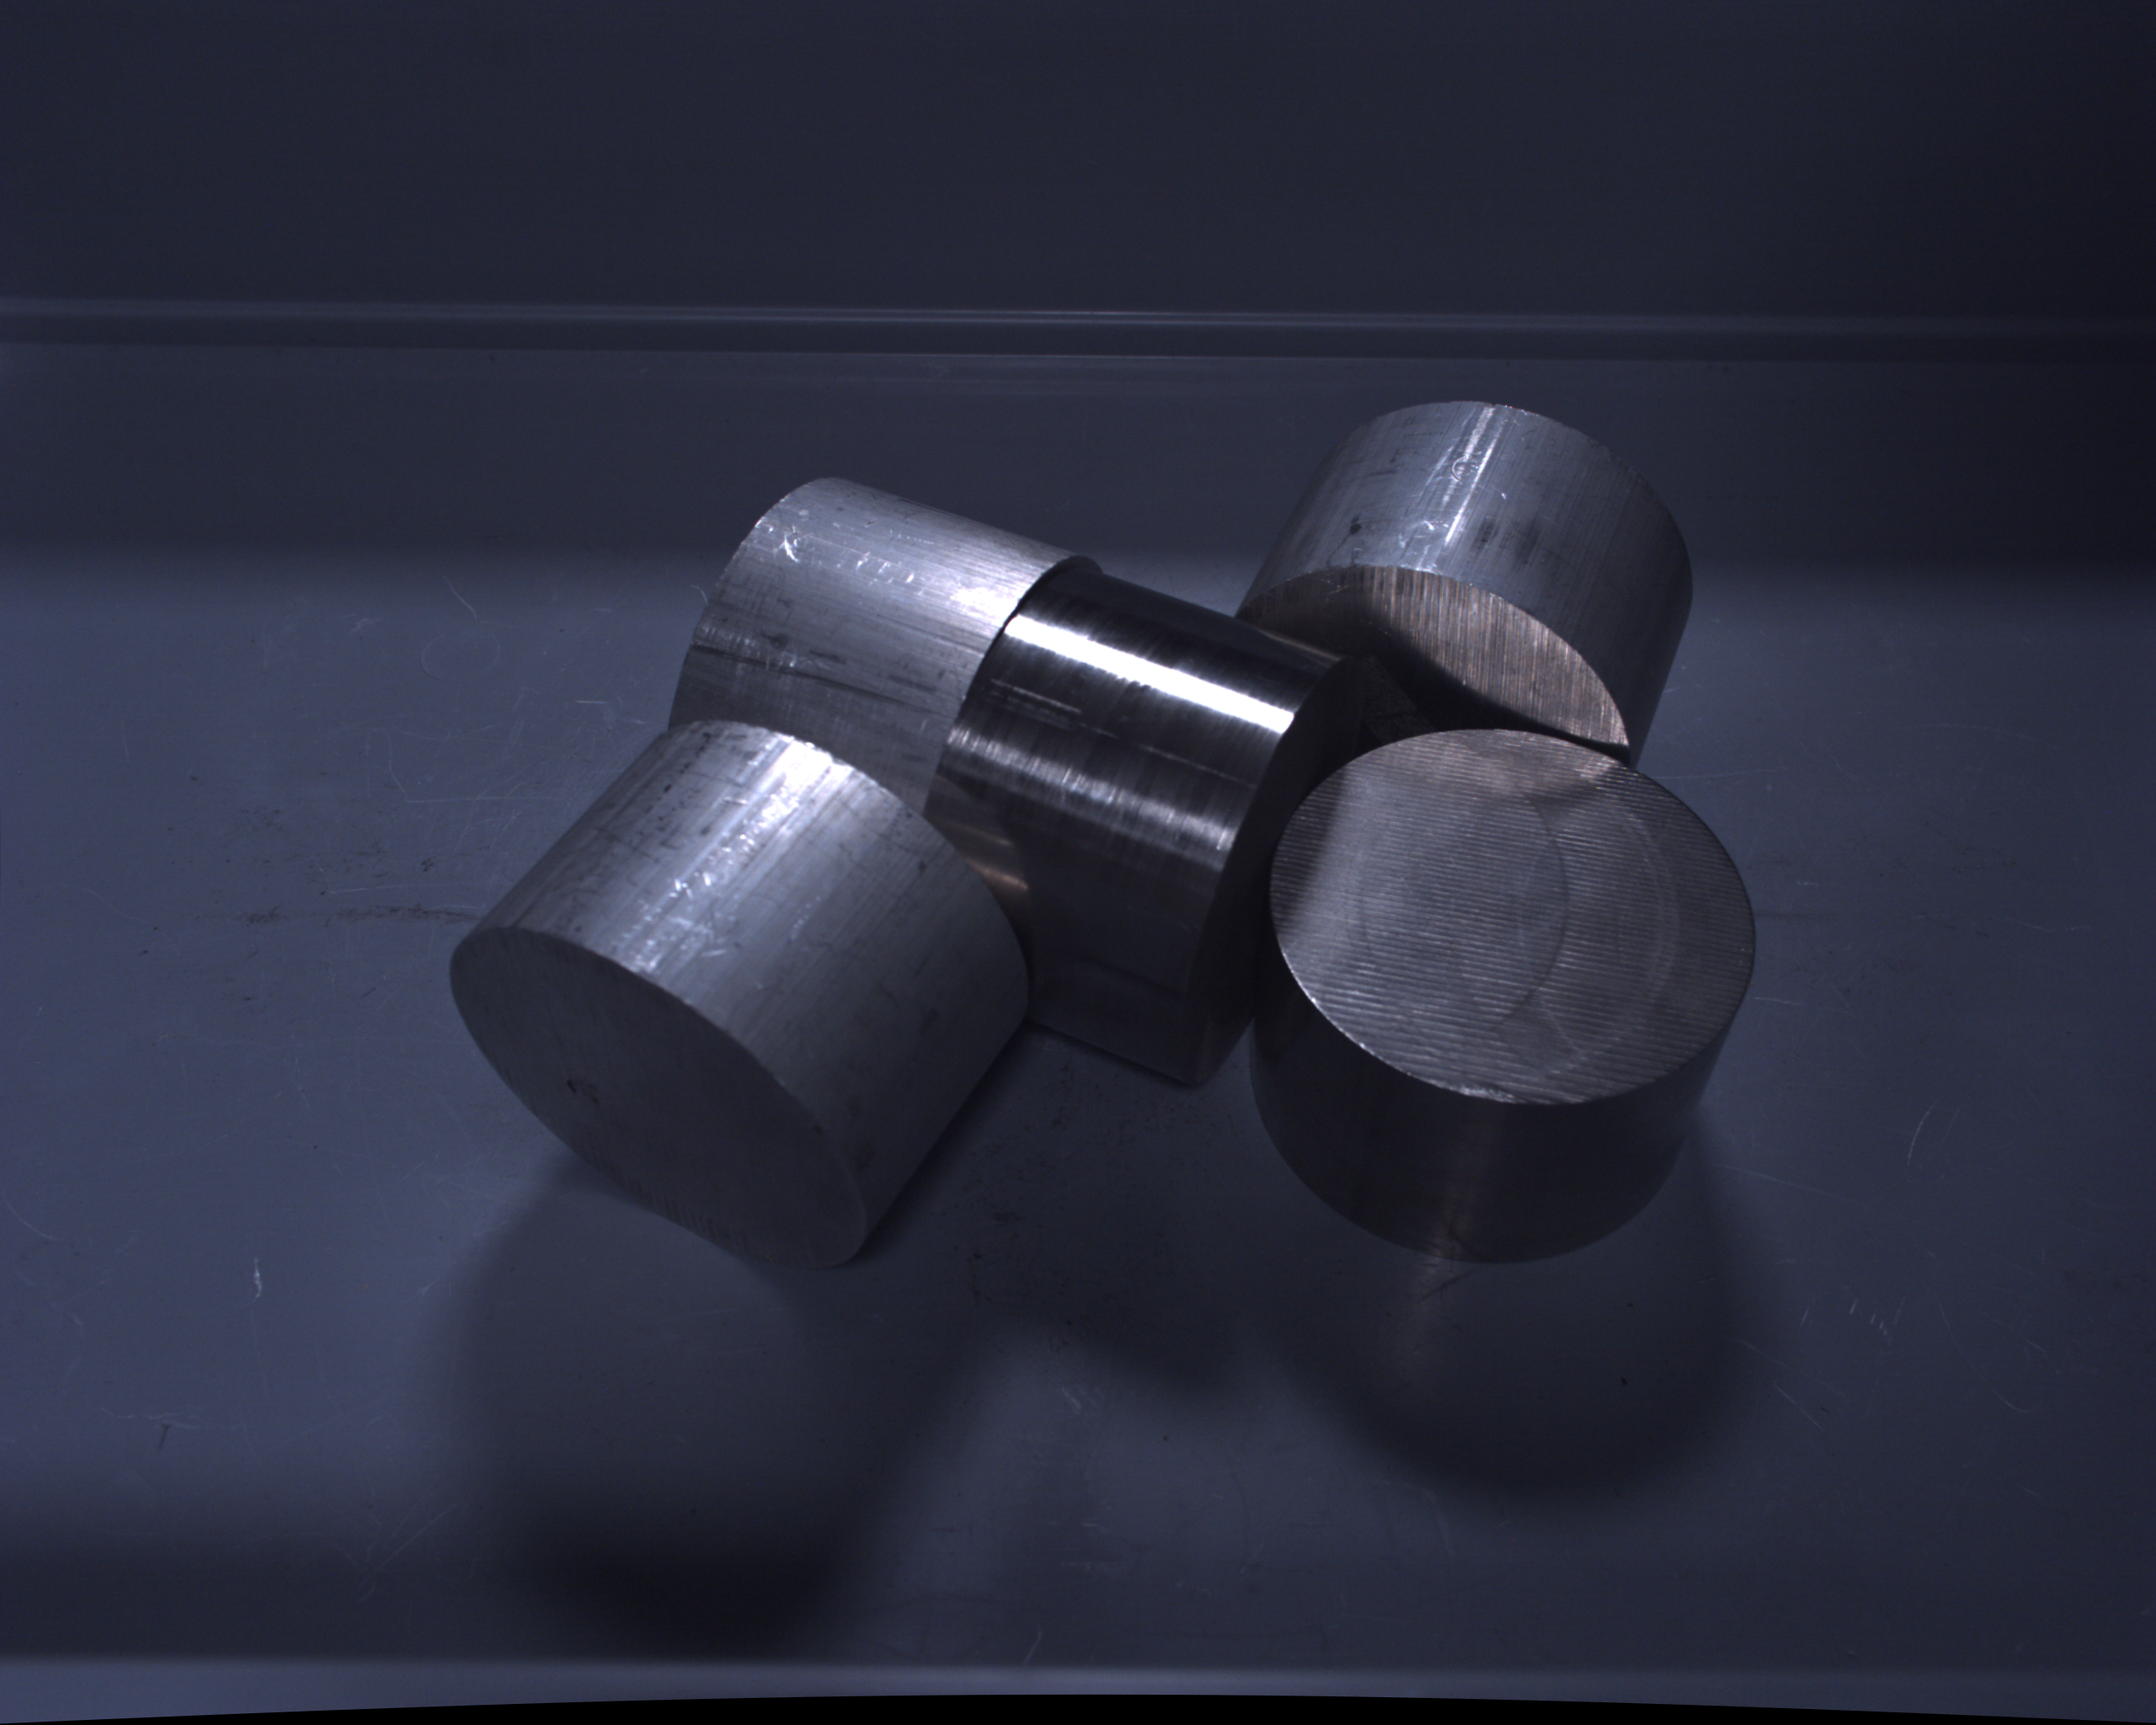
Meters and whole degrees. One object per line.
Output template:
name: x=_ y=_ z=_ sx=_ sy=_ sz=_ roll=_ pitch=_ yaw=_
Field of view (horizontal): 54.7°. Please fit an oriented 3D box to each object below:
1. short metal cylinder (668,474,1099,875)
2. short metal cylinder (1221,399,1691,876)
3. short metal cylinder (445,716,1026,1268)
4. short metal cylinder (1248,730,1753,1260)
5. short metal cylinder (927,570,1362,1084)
short metal cylinder: x=-0.034 y=-0.027 z=0.389 sx=0.050 sy=0.080 sz=0.080 roll=20 pitch=53 yaw=16
short metal cylinder: x=0.072 y=-0.042 z=0.403 sx=0.080 sy=0.080 sz=0.050 roll=18 pitch=52 yaw=14
short metal cylinder: x=-0.056 y=0.022 z=0.348 sx=0.080 sy=0.080 sz=0.050 roll=23 pitch=54 yaw=18
short metal cylinder: x=0.072 y=0.023 z=0.368 sx=0.081 sy=0.050 sz=0.080 roll=0 pitch=50 yaw=0
short metal cylinder: x=0.012 y=-0.007 z=0.374 sx=0.050 sy=0.080 sz=0.080 roll=21 pitch=53 yaw=16
